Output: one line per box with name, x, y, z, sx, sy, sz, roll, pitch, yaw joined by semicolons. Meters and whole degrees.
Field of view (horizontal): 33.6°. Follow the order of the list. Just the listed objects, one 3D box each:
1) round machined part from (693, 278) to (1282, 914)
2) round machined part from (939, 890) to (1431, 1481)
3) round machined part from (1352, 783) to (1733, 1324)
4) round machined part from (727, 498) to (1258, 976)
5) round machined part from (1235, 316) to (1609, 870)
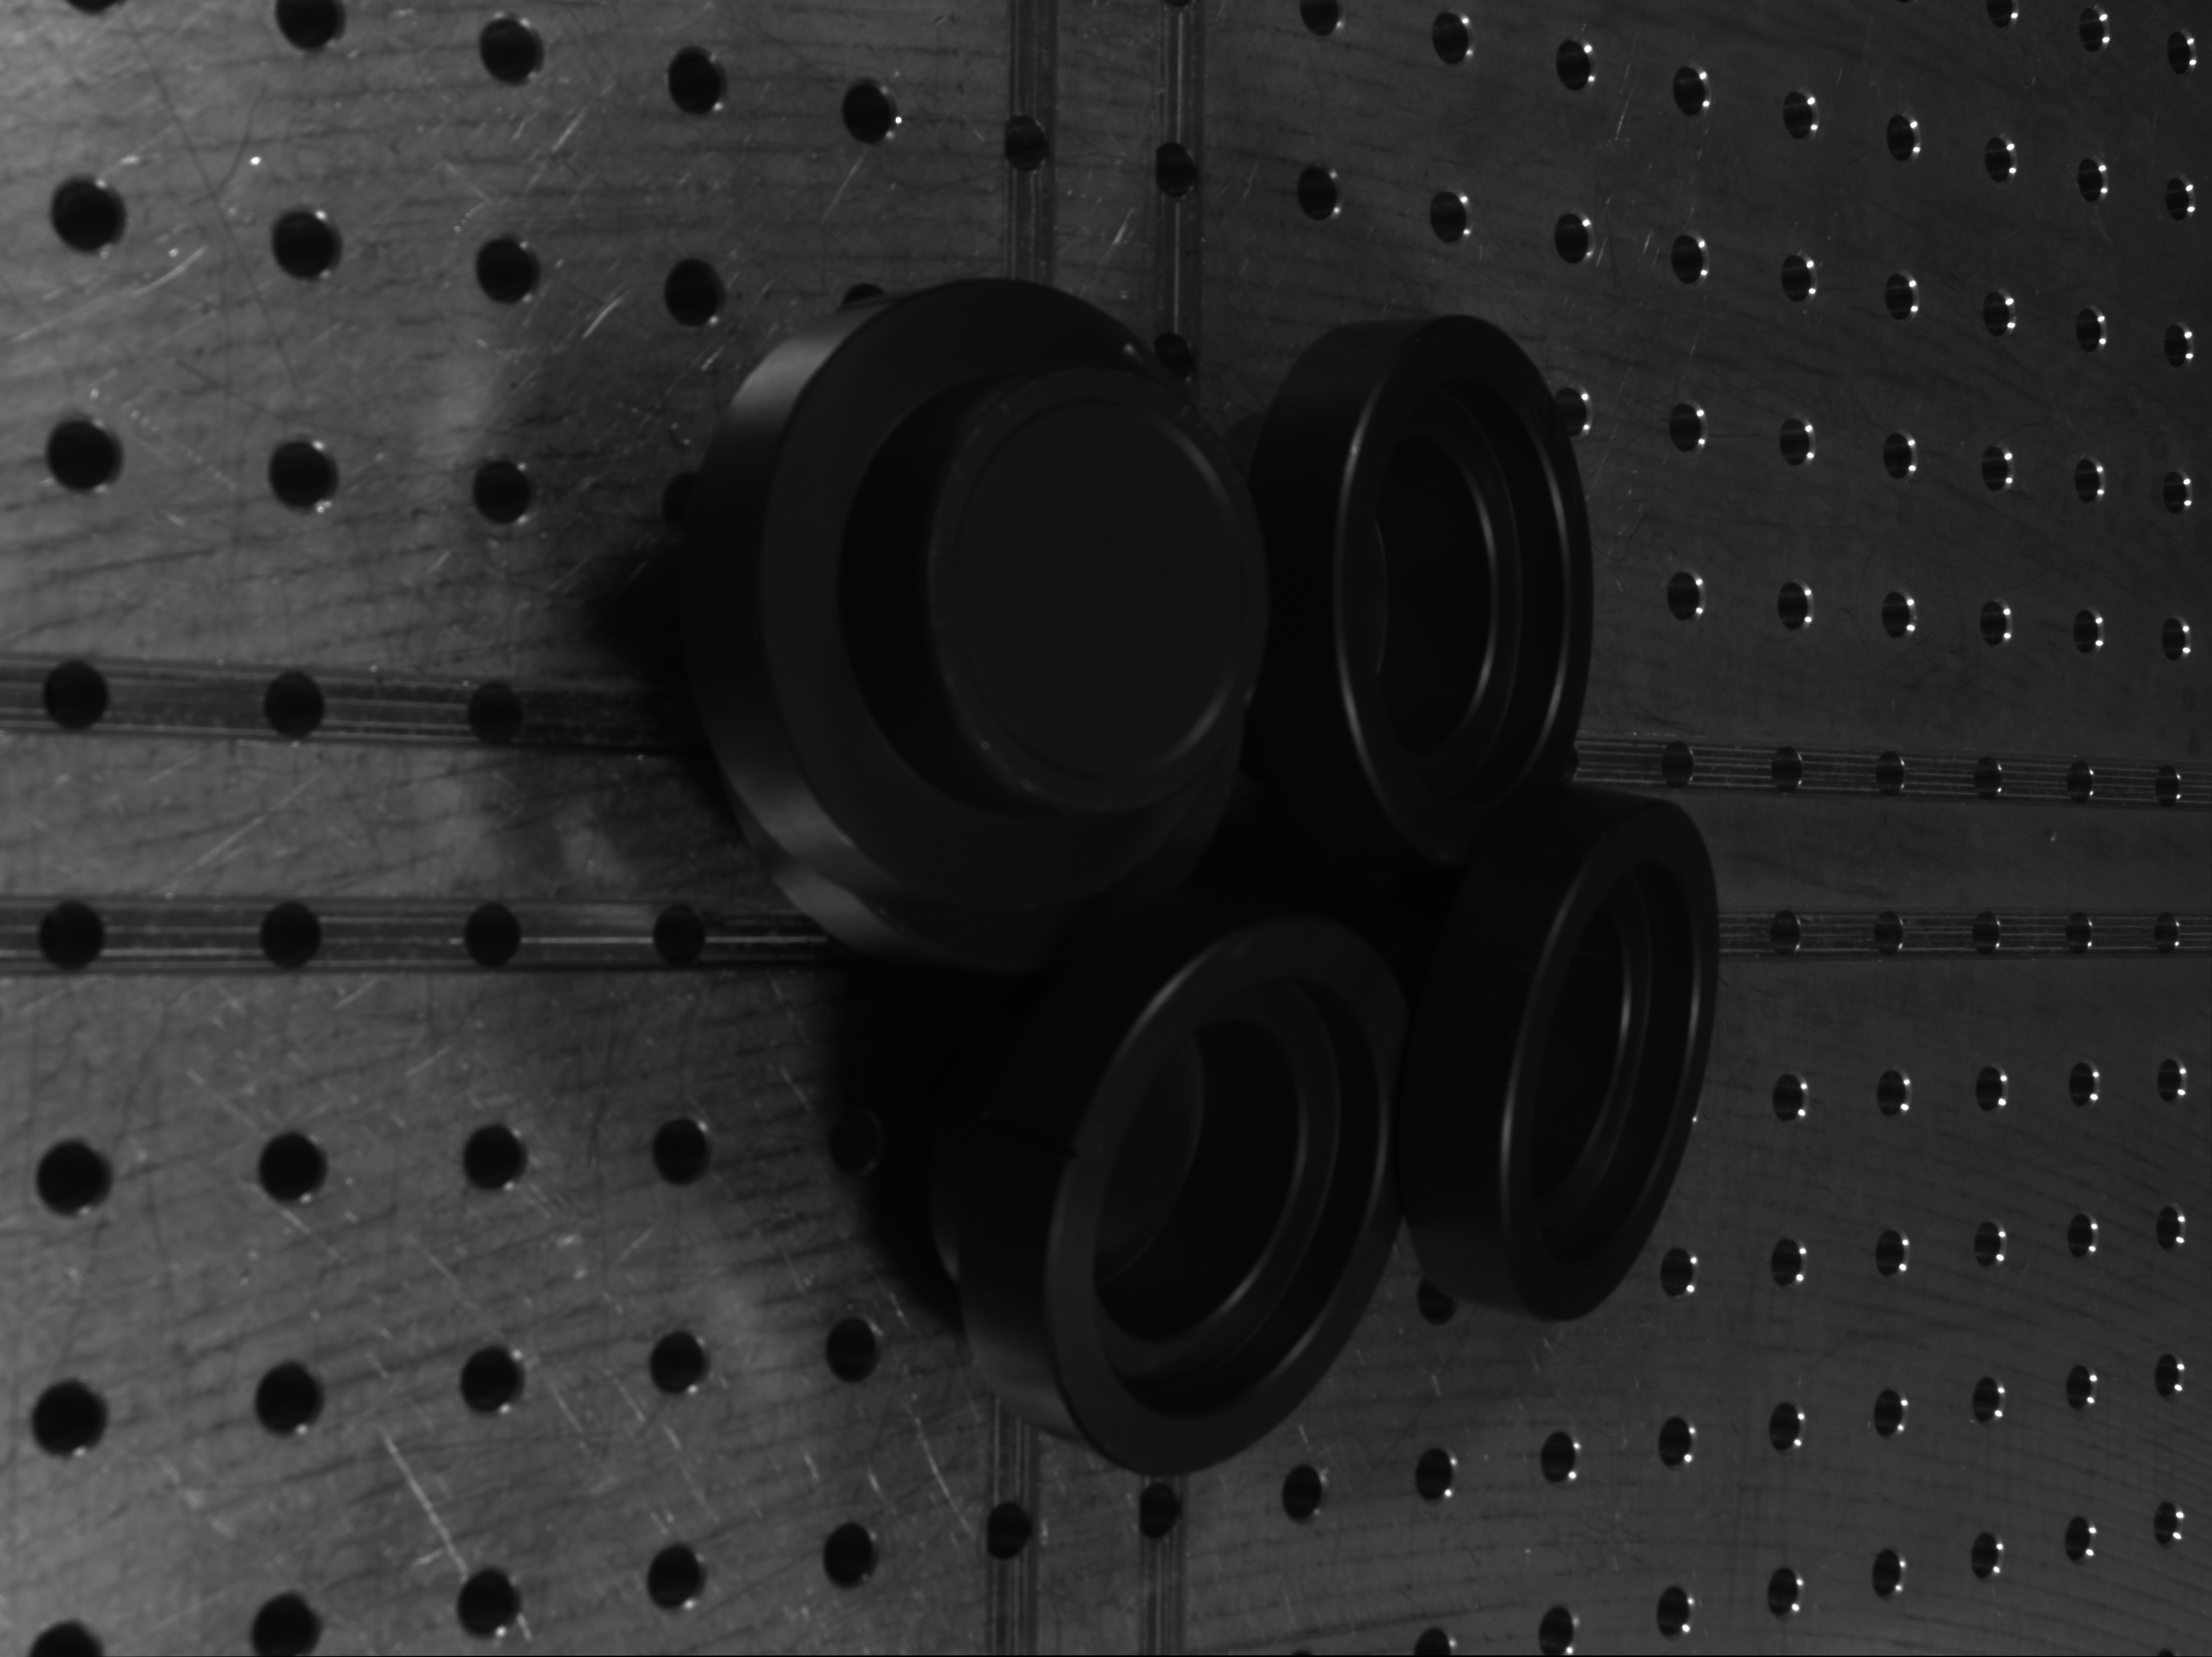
round machined part;-0.011;-0.036;0.565;0.098;0.042;0.098;0;90;-40
round machined part;0.010;0.058;0.626;0.098;0.042;0.098;-22;120;-44
round machined part;0.078;0.040;0.679;0.098;0.042;0.098;-30;126;-54
round machined part;-0.024;-0.025;0.609;0.098;0.042;0.098;0;90;-40
round machined part;0.050;-0.042;0.659;0.098;0.042;0.098;-3;93;-56
